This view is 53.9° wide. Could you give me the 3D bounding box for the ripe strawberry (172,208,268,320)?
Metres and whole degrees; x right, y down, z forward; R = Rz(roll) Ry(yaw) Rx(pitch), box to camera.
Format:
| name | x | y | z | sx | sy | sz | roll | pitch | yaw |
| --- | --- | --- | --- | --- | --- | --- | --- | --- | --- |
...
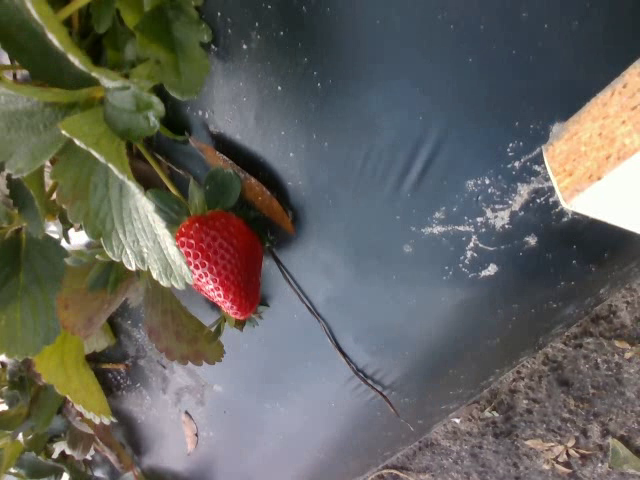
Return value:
| name | x | y | z | sx | sy | sz | roll | pitch | yaw |
| --- | --- | --- | --- | --- | --- | --- | --- | --- | --- |
| ripe strawberry | -0.043 | 0.015 | 0.287 | 0.049 | 0.053 | 0.050 | -9 | -31 | -33 |
